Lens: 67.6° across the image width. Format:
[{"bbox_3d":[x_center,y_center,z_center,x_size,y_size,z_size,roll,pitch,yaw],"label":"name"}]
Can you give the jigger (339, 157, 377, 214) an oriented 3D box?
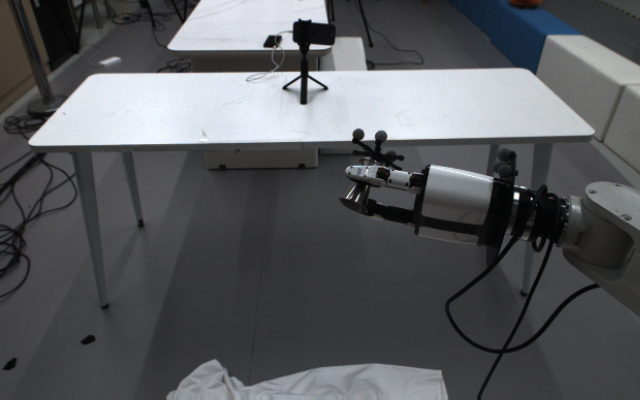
[{"bbox_3d":[0.059,-0.024,0.682,0.043,0.043,0.071,20,73,24],"label":"jigger"}]
